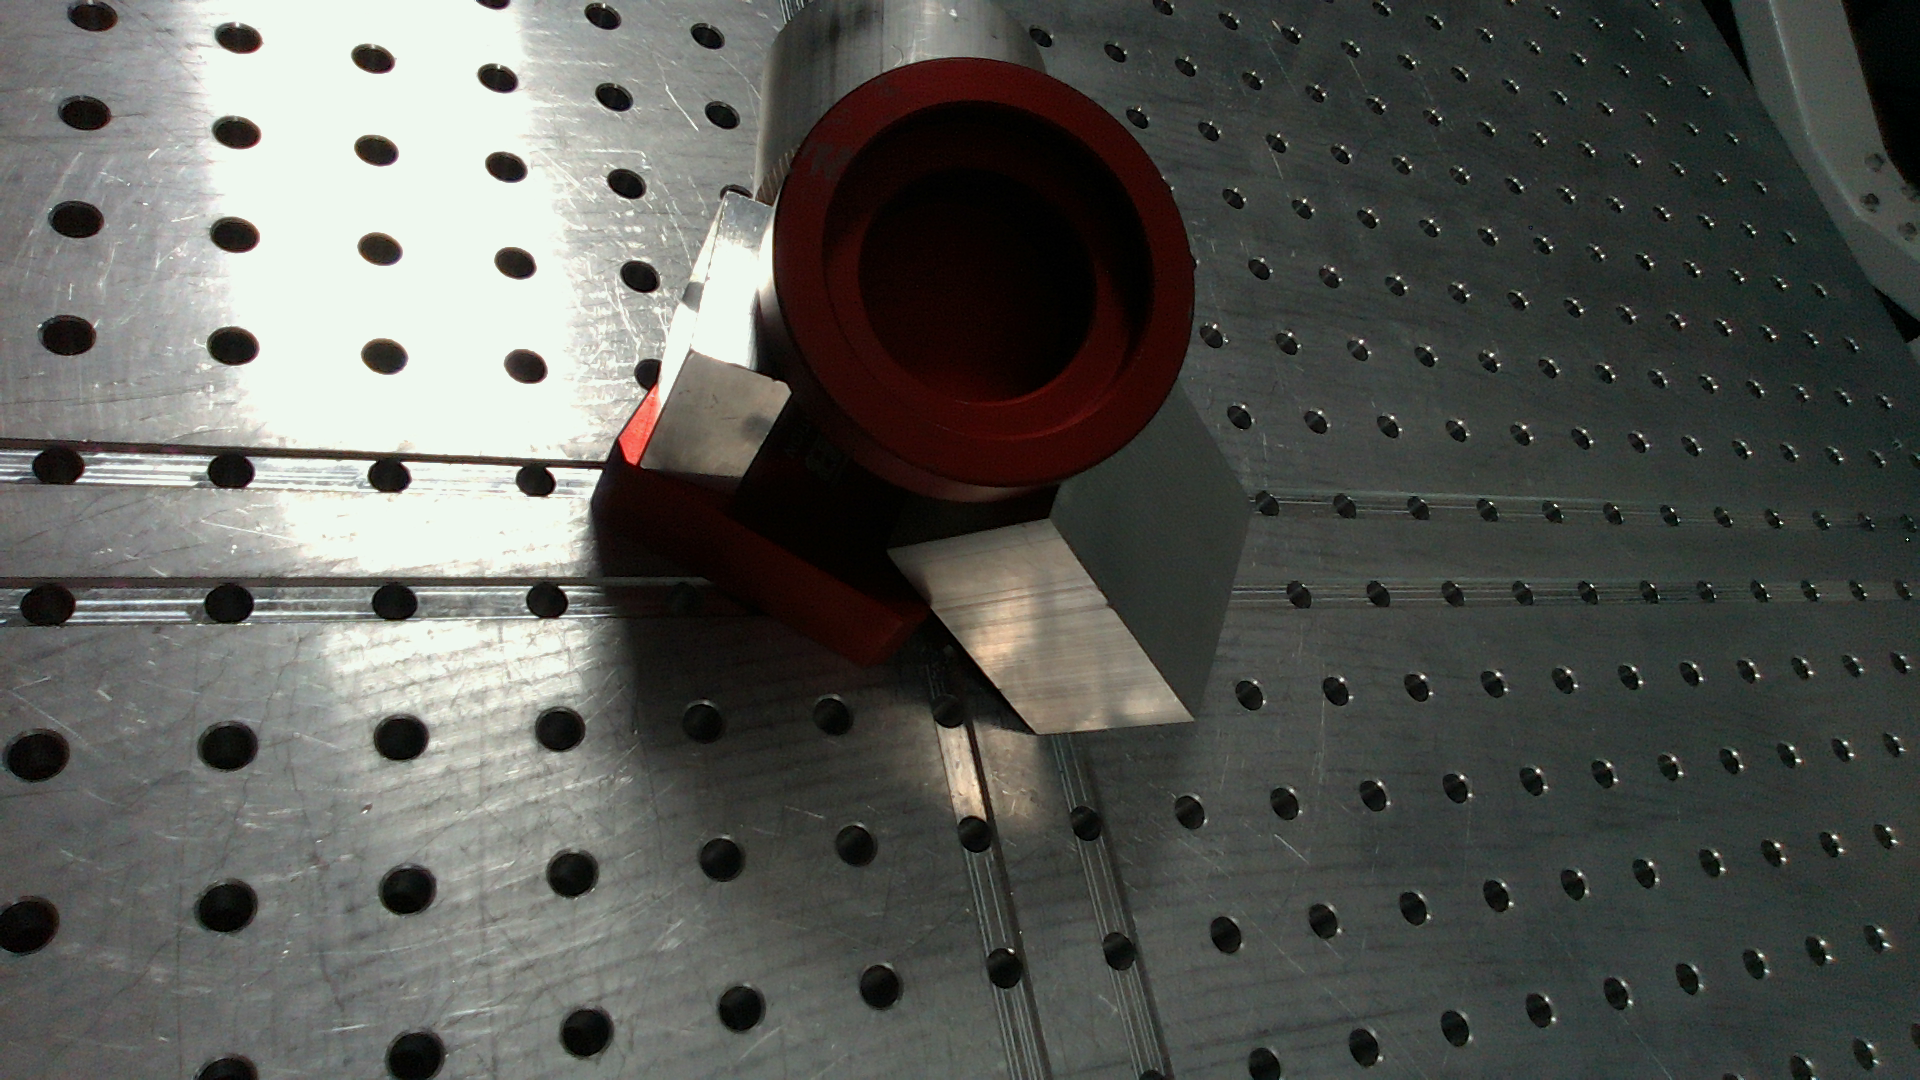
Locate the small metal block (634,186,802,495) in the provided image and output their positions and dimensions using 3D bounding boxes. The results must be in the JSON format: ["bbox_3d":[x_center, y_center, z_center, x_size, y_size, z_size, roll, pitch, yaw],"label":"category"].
[{"bbox_3d":[-0.056,-0.048,0.335,0.025,0.050,0.050,18,55,-18],"label":"small metal block"}]

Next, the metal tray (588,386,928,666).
[{"bbox_3d":[-0.035,-0.039,0.396,0.090,0.030,0.130,30,52,-9],"label":"metal tray"}]

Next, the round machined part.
[{"bbox_3d":[0.001,-0.057,0.322,0.098,0.042,0.098,3,81,-17],"label":"round machined part"}]

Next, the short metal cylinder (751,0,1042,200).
[{"bbox_3d":[-0.015,-0.101,0.372,0.080,0.080,0.050,13,56,-21],"label":"short metal cylinder"}]

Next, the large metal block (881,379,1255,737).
[{"bbox_3d":[0.034,-0.004,0.374,0.080,0.050,0.080,52,44,-32],"label":"large metal block"}]
